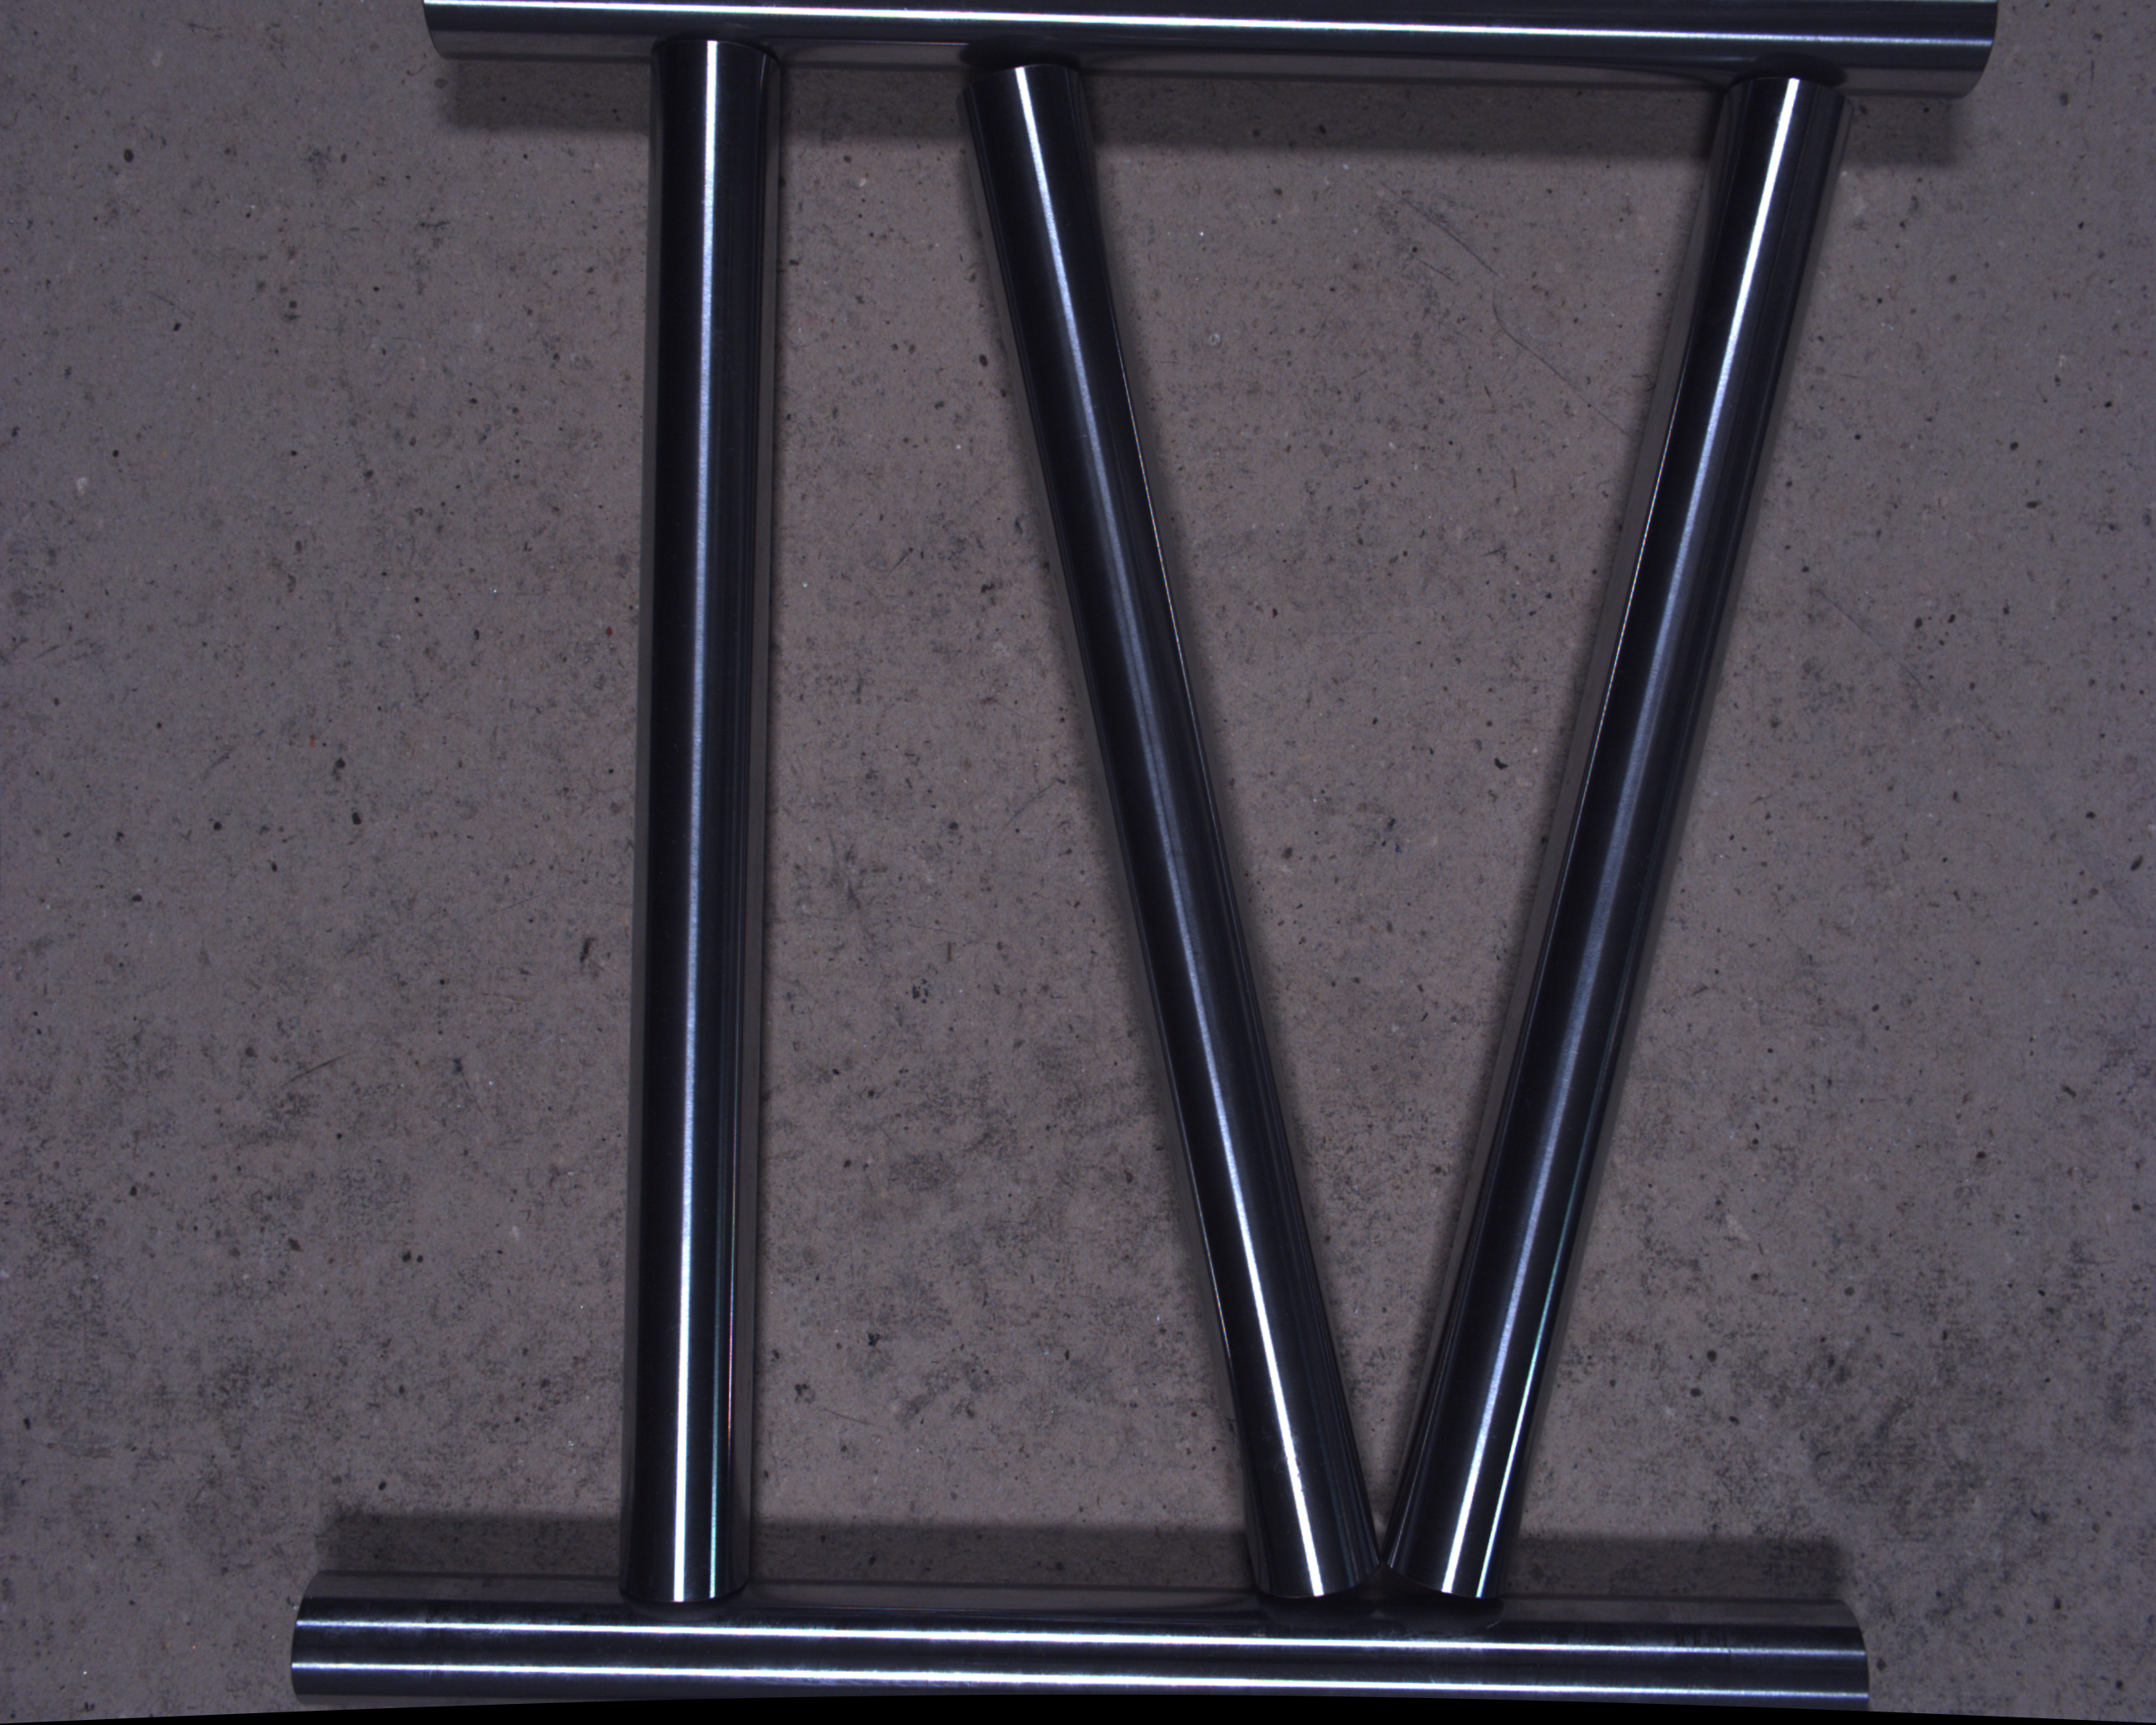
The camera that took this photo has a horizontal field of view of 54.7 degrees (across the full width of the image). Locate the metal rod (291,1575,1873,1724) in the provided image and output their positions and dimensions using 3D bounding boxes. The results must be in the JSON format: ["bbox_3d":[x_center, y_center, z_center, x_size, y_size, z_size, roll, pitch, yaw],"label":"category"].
[{"bbox_3d":[0.001,0.155,0.410,0.302,0.025,0.025,1,90,-1],"label":"metal rod"}]

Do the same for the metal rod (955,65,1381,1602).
[{"bbox_3d":[0.018,-0.006,0.410,0.025,0.025,0.298,-11,90,0],"label":"metal rod"}]

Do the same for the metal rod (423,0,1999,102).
[{"bbox_3d":[0.026,-0.167,0.411,0.302,0.025,0.025,1,90,-1],"label":"metal rod"}]

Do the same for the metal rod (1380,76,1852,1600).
[{"bbox_3d":[0.106,-0.005,0.412,0.025,0.025,0.298,13,90,-1],"label":"metal rod"}]

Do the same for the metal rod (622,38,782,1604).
[{"bbox_3d":[-0.074,-0.008,0.409,0.025,0.025,0.298,1,90,-1],"label":"metal rod"}]
